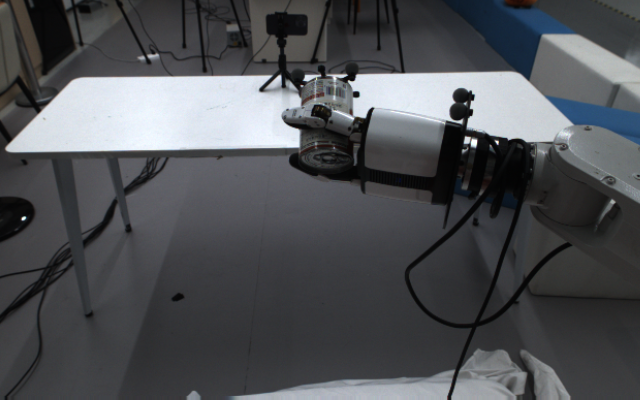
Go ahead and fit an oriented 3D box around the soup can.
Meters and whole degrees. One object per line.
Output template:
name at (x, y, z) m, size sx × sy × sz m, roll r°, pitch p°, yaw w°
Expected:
soup can at (0.009, -0.091, 0.595) m, size 0.067 × 0.067 × 0.101 m, roll 2°, pitch 68°, yaw -1°
